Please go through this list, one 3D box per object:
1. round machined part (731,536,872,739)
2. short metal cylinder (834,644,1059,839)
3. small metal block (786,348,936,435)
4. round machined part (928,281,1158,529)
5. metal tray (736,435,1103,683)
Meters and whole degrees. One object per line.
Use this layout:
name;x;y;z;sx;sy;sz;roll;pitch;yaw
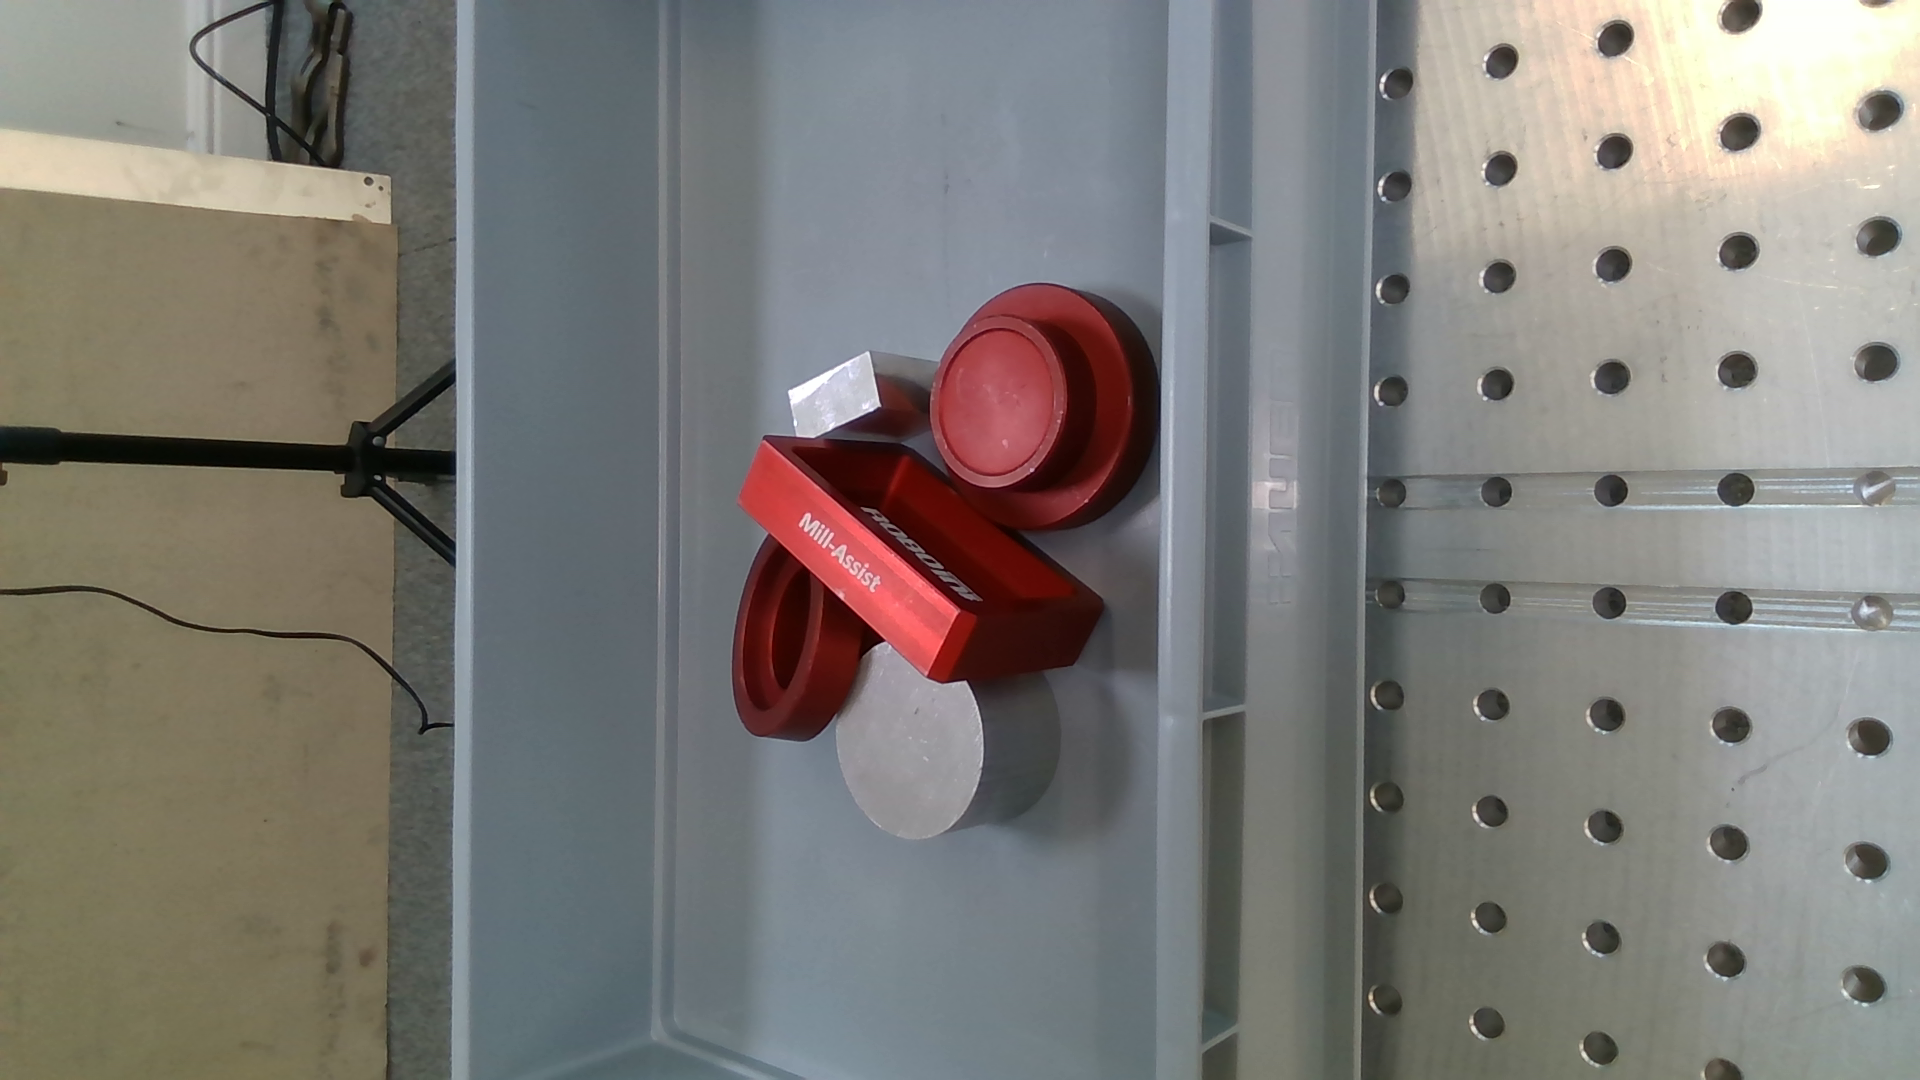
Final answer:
round machined part;-0.064;0.040;0.609;0.098;0.042;0.098;-31;53;54
short metal cylinder;-0.006;0.079;0.570;0.080;0.050;0.080;0;91;40
small metal block;-0.038;-0.060;0.595;0.050;0.050;0.025;-20;78;39
round machined part;0.026;-0.053;0.546;0.098;0.042;0.098;0;91;40
metal tray;-0.017;0.004;0.552;0.130;0.090;0.030;40;115;33
